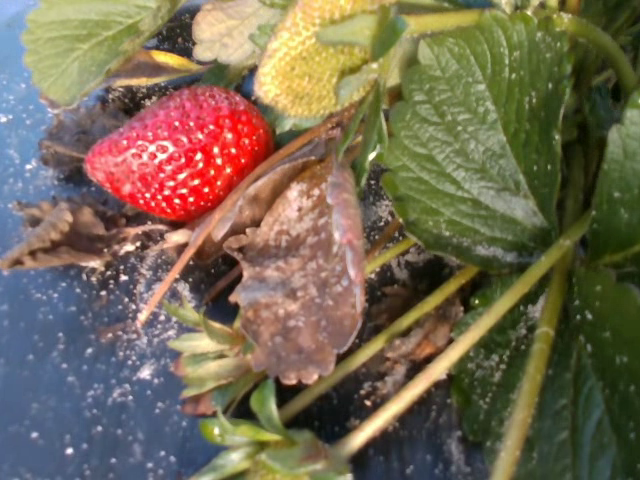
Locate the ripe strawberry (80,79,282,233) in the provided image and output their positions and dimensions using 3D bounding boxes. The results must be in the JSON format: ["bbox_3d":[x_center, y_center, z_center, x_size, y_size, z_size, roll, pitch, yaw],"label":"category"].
[{"bbox_3d":[-0.026,-0.015,0.104,0.030,0.026,0.031,-23,43,-36],"label":"ripe strawberry"}]
